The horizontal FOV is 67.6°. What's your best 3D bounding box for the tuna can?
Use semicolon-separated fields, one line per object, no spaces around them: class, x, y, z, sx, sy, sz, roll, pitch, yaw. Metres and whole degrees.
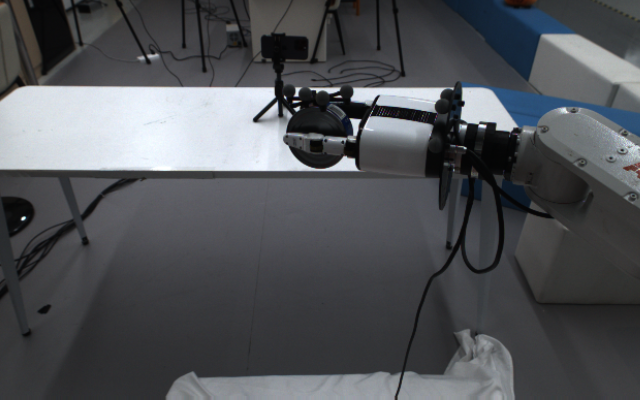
tuna can;0.001;-0.089;0.649;0.085;0.085;0.034;14;29;16
